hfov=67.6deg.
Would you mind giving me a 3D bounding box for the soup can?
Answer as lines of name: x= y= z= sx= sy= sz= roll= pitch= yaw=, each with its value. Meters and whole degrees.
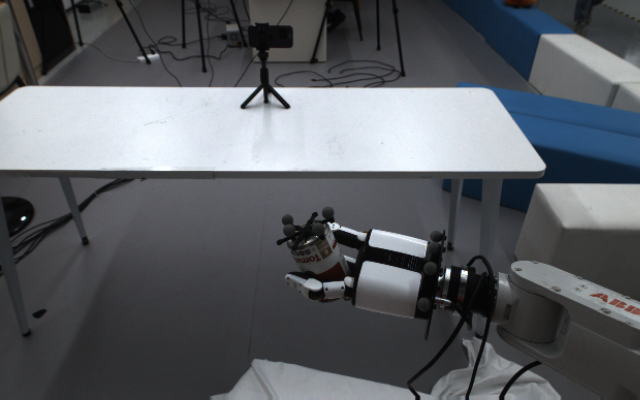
soup can: x=0.004 y=0.088 z=0.704 sx=0.067 sy=0.101 sz=0.067 roll=-22 pitch=24 yaw=10
